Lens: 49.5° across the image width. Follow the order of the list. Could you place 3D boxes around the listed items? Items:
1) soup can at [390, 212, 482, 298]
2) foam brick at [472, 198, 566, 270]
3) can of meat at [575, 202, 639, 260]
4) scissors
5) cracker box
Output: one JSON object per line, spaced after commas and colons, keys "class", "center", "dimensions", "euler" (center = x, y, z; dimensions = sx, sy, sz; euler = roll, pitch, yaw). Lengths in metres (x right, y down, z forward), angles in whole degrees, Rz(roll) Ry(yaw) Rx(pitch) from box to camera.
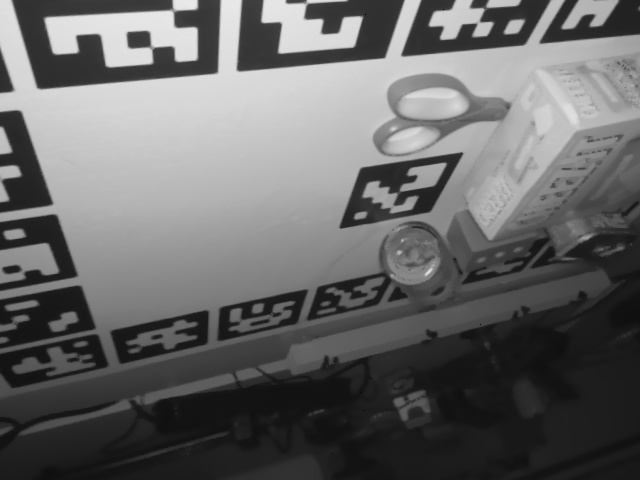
{"class": "soup can", "center": [0.123, 0.018, 0.723], "dimensions": [0.067, 0.068, 0.103], "euler": [-30, 152, 17]}
{"class": "foam brick", "center": [0.204, -0.012, 0.724], "dimensions": [0.078, 0.051, 0.052], "euler": [-16, 147, -6]}
{"class": "can of meat", "center": [0.304, -0.031, 0.713], "dimensions": [0.103, 0.084, 0.057], "euler": [-1, 143, -26]}
{"class": "scissors", "center": [0.156, -0.121, 0.539], "dimensions": [0.204, 0.016, 0.087], "euler": [-13, 147, -12]}
{"class": "cracker box", "center": [0.271, -0.096, 0.583], "dimensions": [0.215, 0.072, 0.162], "euler": [-16, 149, -13]}
